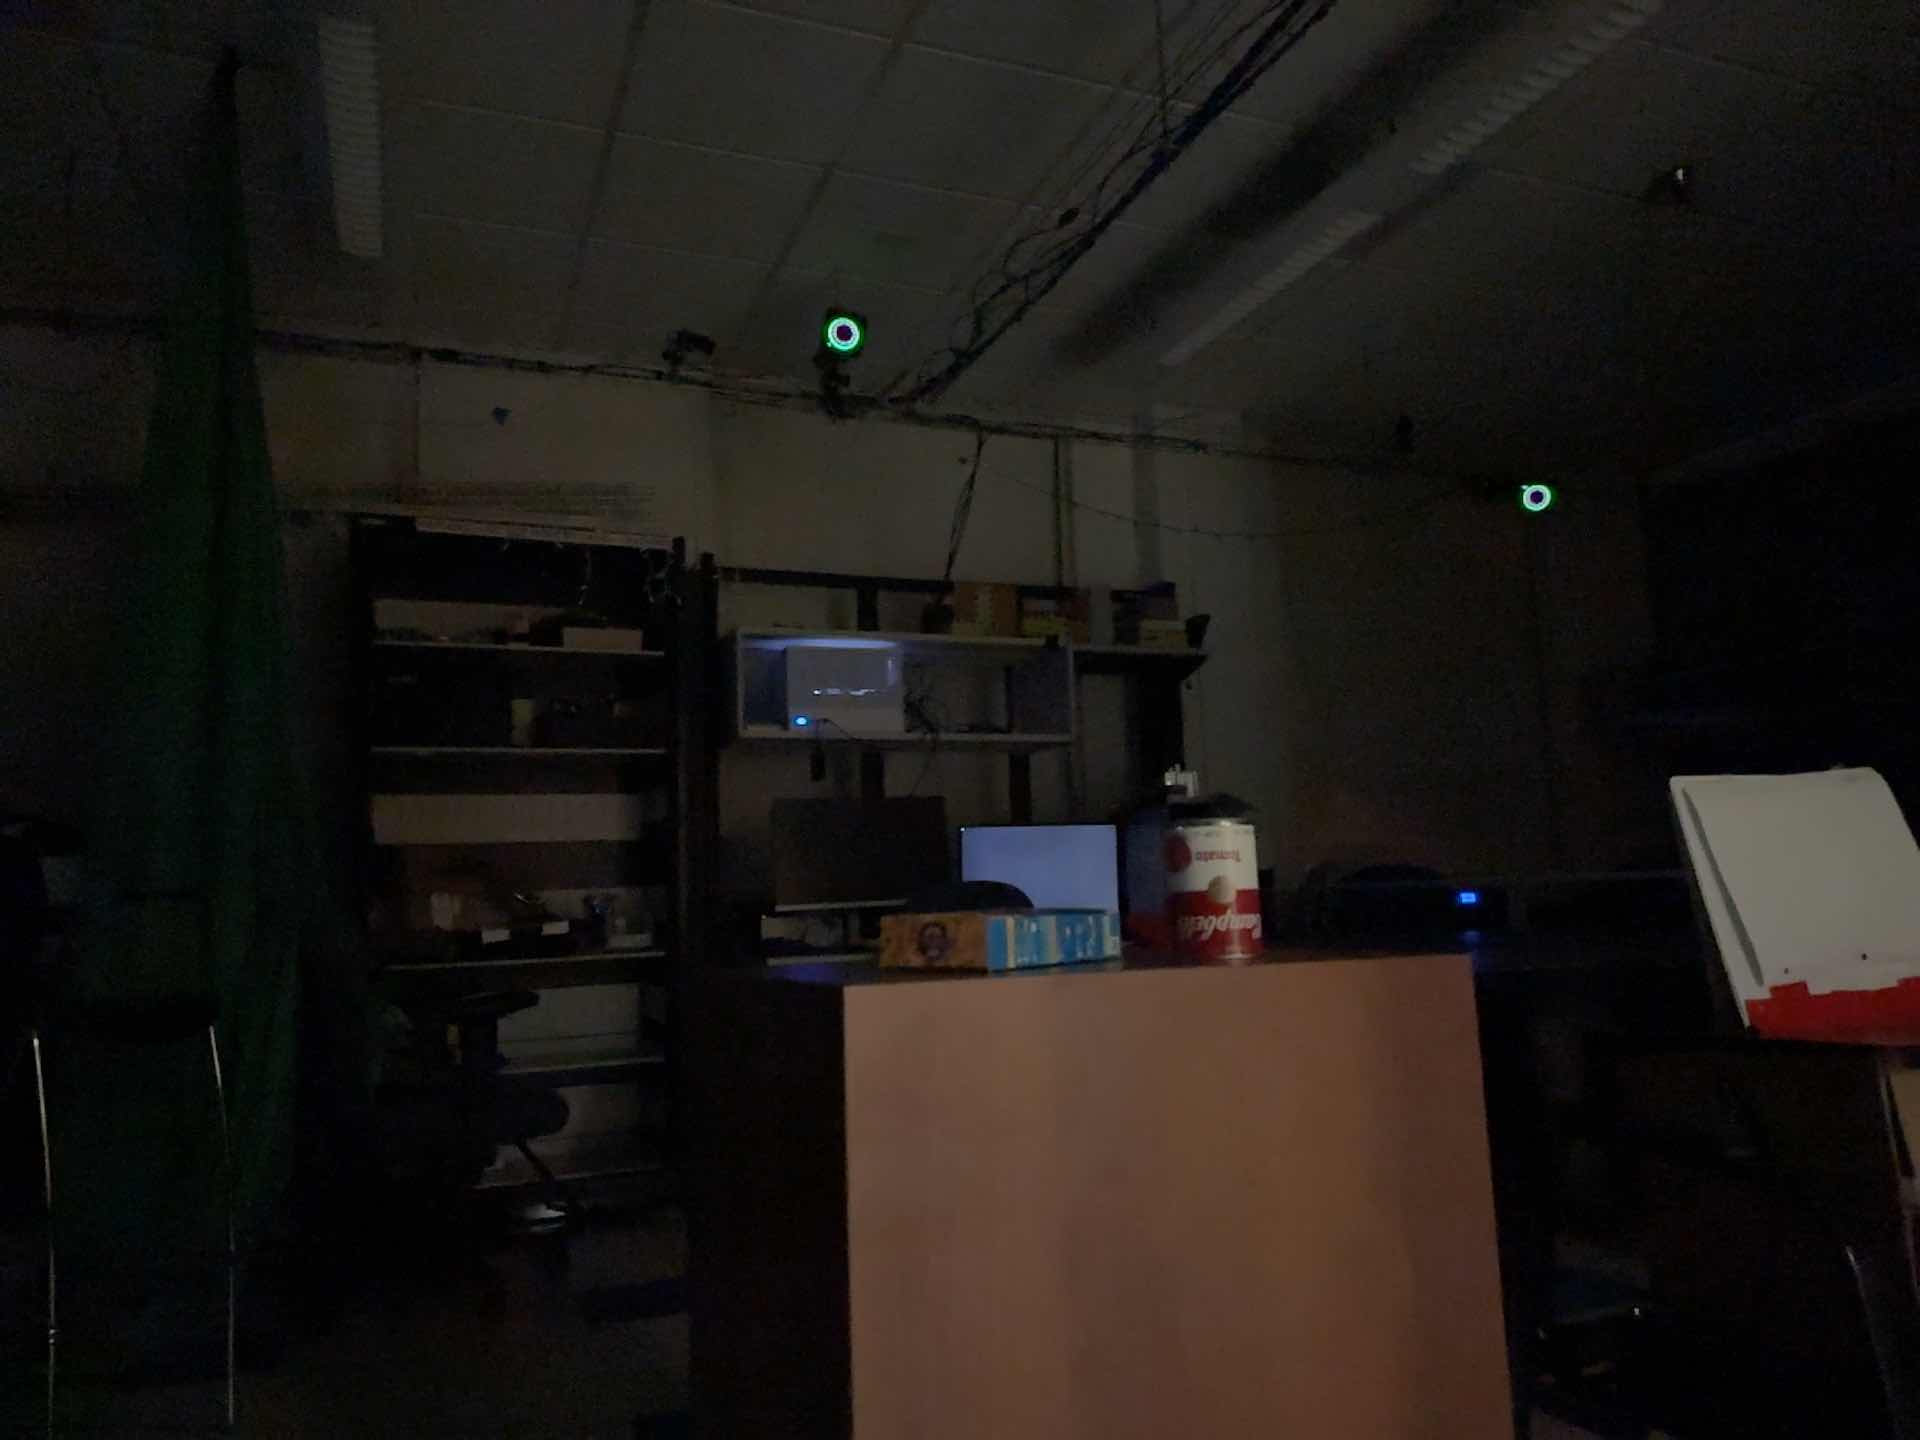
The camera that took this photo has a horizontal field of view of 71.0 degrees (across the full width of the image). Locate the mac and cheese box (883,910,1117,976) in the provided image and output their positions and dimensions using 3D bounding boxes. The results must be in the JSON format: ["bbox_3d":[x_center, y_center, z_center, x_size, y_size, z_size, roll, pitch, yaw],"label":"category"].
[{"bbox_3d":[0.033,0.160,0.978,0.088,0.035,0.181,-4,-7,32],"label":"mac and cheese box"}]

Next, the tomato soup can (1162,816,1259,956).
[{"bbox_3d":[0.188,0.123,1.012,0.067,0.102,0.067,-1,-5,0],"label":"tomato soup can"}]
